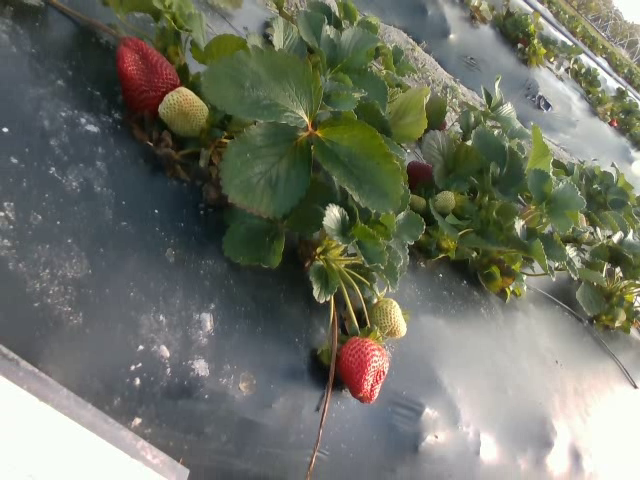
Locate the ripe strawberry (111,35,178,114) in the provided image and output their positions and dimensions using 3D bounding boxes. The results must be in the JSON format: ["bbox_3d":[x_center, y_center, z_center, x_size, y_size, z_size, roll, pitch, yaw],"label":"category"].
[{"bbox_3d":[-0.144,-0.134,0.496,0.057,0.071,0.058,11,45,36],"label":"ripe strawberry"}]

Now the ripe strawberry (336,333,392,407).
[{"bbox_3d":[0.039,0.099,0.457,0.047,0.050,0.034,23,-29,-32],"label":"ripe strawberry"}]
